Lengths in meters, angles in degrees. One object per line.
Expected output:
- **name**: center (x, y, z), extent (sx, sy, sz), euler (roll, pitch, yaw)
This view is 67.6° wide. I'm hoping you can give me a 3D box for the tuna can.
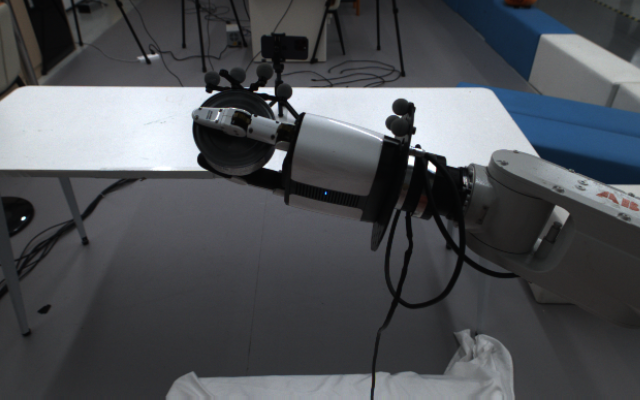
- **tuna can**: center (-0.087, -0.071, 0.511), extent (0.085, 0.034, 0.085), euler (1, 73, -3)
